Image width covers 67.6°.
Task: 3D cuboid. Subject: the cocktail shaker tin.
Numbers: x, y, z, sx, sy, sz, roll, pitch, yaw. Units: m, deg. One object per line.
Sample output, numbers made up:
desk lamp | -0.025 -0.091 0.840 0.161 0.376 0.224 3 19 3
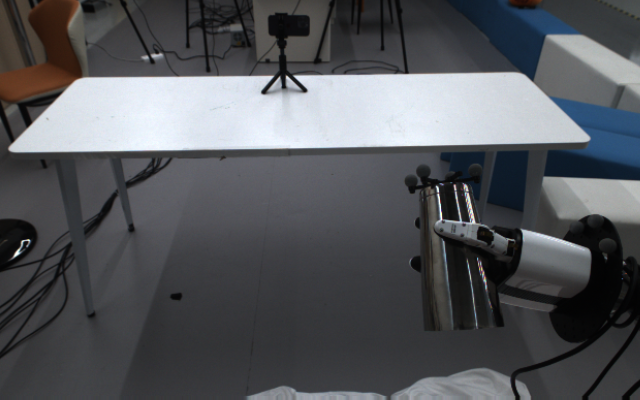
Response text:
cocktail shaker tin | 0.165 0.069 0.591 0.093 0.093 0.170 -3 77 -8
